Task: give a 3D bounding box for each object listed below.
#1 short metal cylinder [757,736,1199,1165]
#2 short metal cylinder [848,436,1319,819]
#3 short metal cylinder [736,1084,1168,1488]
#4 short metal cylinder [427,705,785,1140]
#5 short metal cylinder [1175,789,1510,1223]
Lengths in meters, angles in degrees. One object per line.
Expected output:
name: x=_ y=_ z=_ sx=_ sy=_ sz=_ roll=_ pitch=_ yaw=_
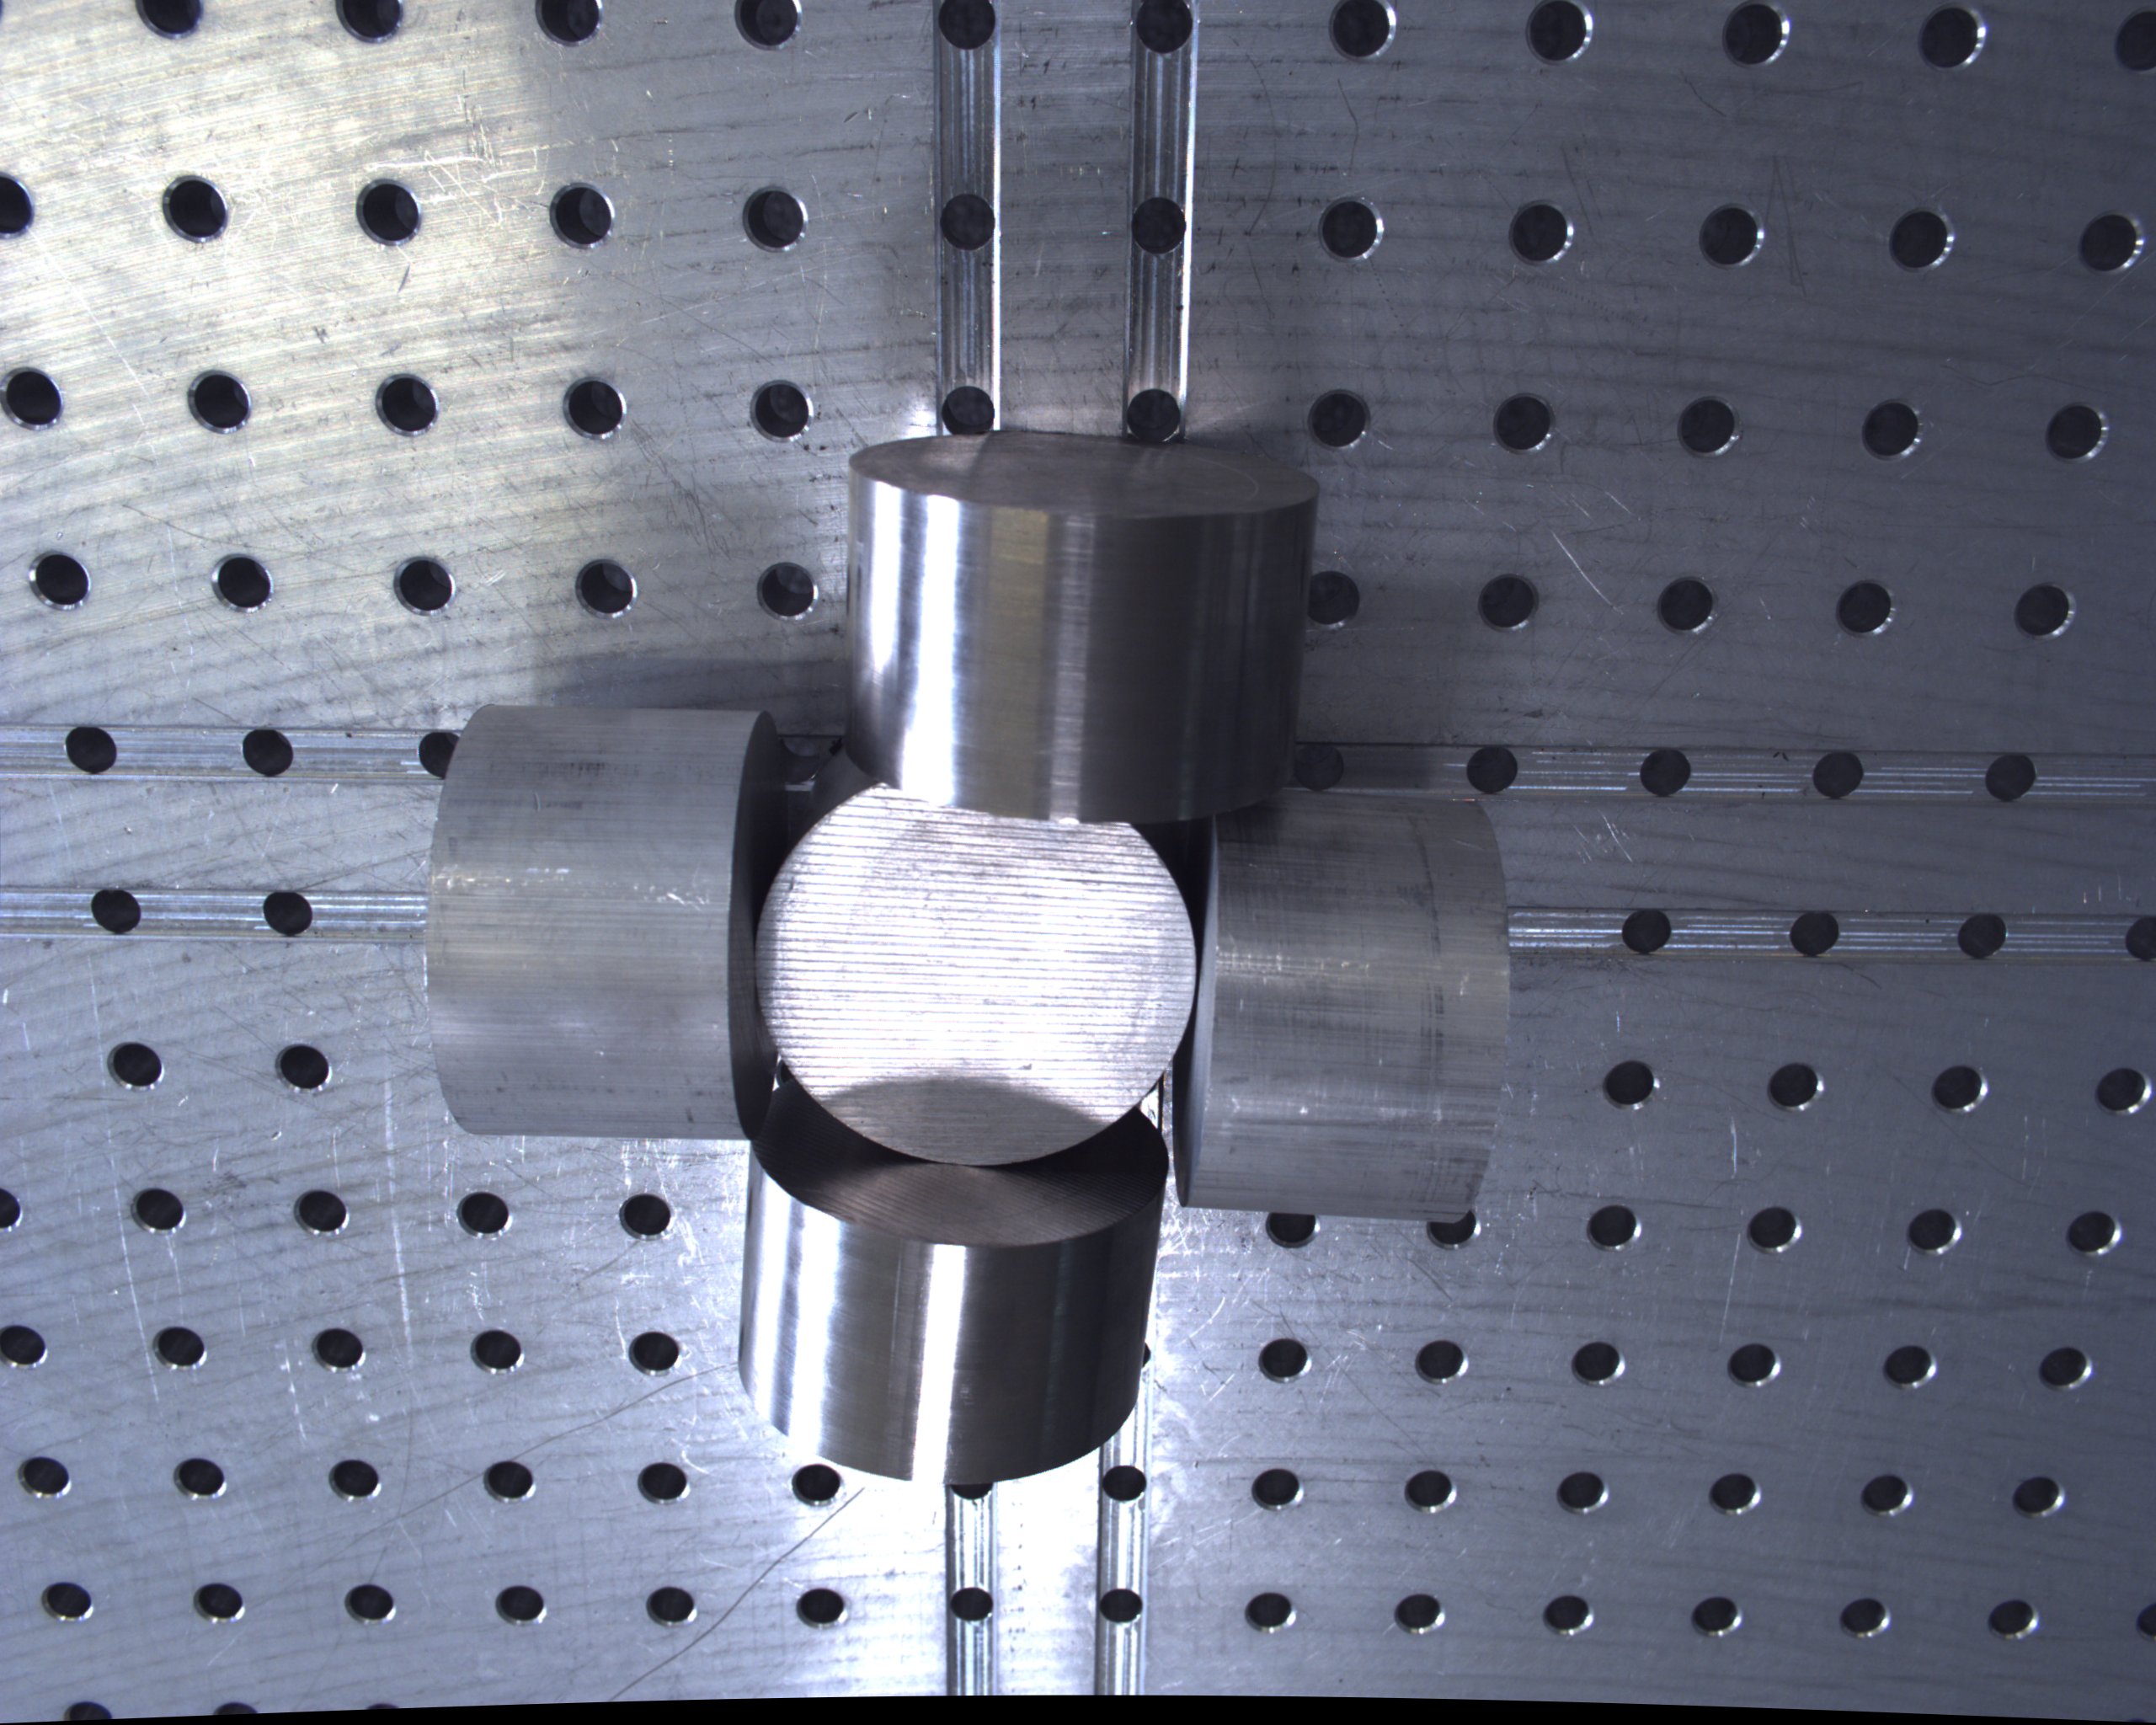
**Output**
short metal cylinder: x=-0.019 y=0.011 z=0.404 sx=0.081 sy=0.050 sz=0.079 roll=-1 pitch=110 yaw=-1
short metal cylinder: x=0.000 y=-0.044 z=0.367 sx=0.081 sy=0.080 sz=0.050 roll=3 pitch=110 yaw=-1
short metal cylinder: x=-0.025 y=0.077 z=0.411 sx=0.081 sy=0.080 sz=0.050 roll=6 pitch=110 yaw=-2
short metal cylinder: x=-0.084 y=0.011 z=0.387 sx=0.050 sy=0.080 sz=0.079 roll=1 pitch=110 yaw=-1
short metal cylinder: x=0.047 y=0.026 z=0.394 sx=0.050 sy=0.080 sz=0.079 roll=3 pitch=110 yaw=-2
